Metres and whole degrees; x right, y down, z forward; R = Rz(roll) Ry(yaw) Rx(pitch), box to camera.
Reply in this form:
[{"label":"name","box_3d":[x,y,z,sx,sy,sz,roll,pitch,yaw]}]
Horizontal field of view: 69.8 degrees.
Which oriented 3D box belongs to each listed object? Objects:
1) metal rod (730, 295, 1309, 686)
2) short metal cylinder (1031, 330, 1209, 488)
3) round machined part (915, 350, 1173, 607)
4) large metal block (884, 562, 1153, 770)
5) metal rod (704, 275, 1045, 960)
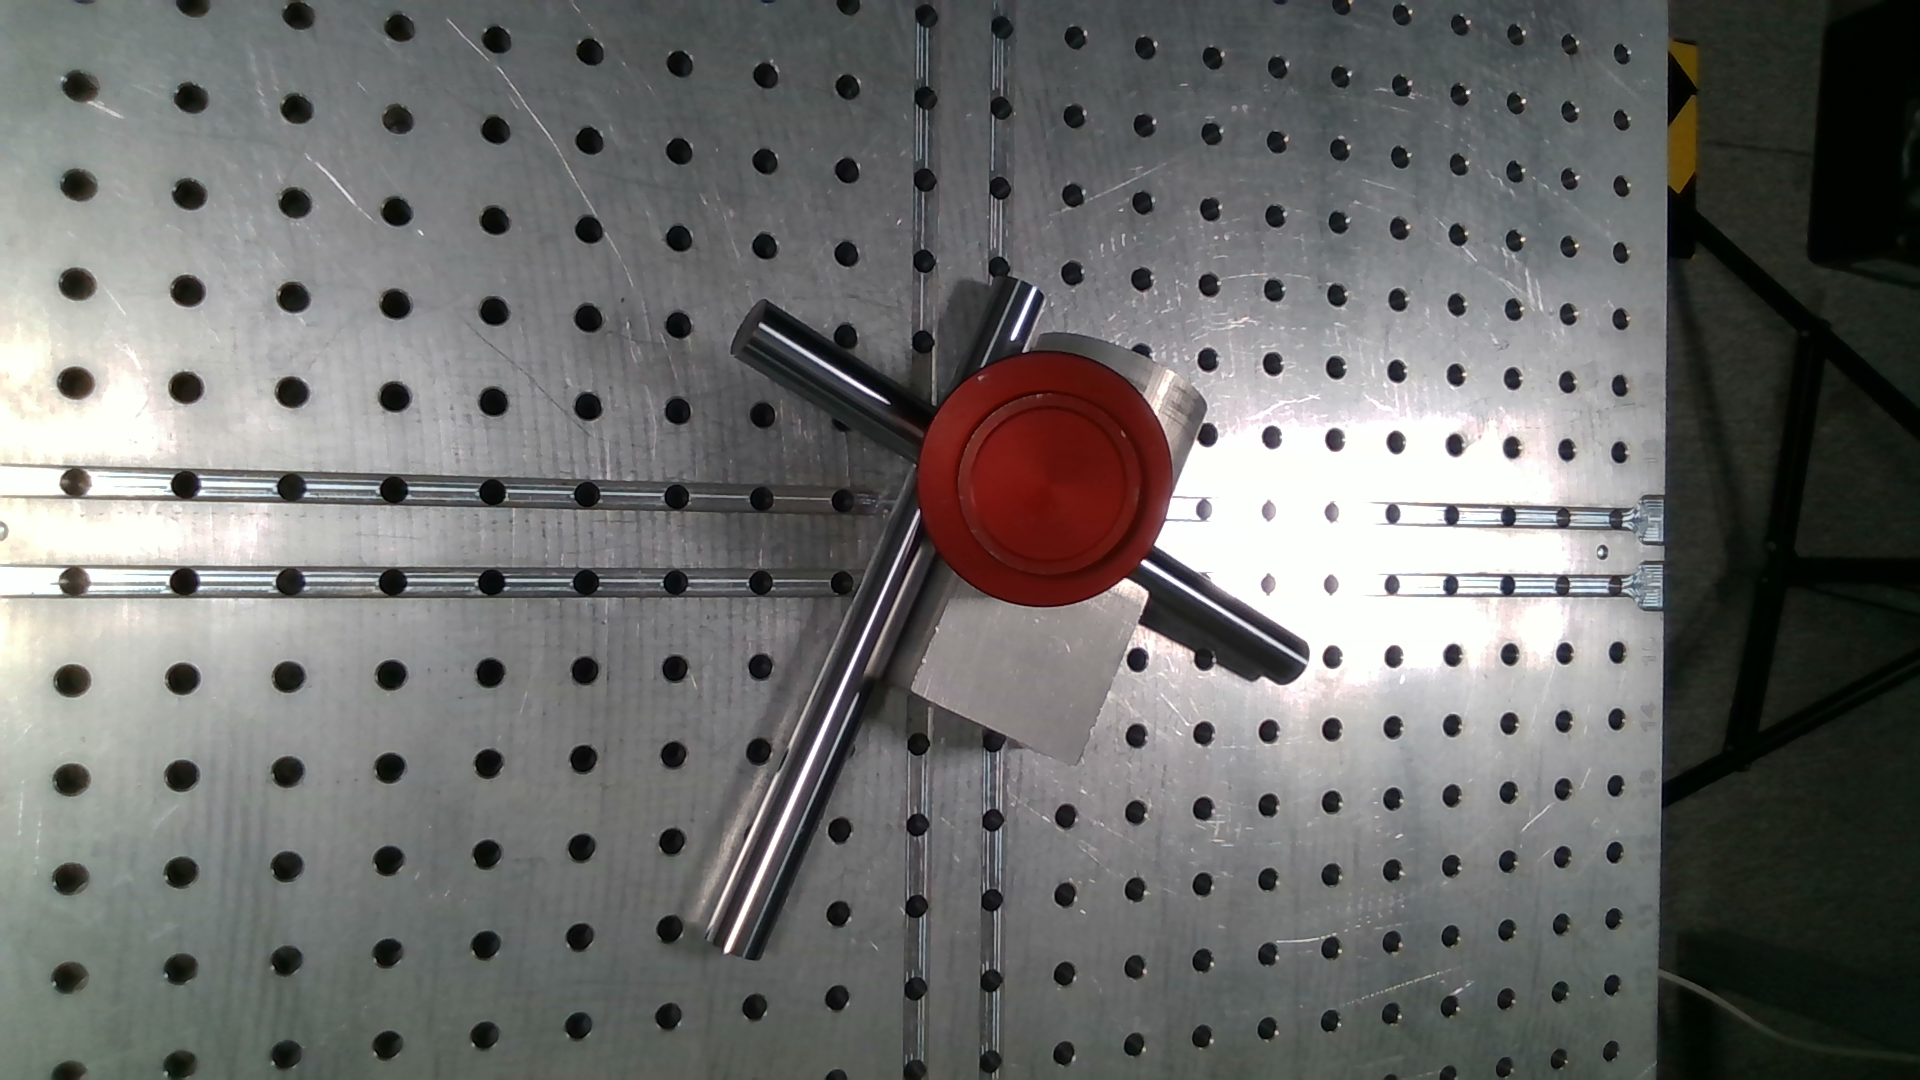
[{"label":"metal rod","box_3d":[0.037,-0.012,0.581,0.301,0.025,0.025,31,80,-25]},{"label":"short metal cylinder","box_3d":[0.058,-0.047,0.580,0.080,0.080,0.050,26,81,-18]},{"label":"round machined part","box_3d":[0.032,-0.023,0.521,0.098,0.042,0.098,0,97,0]},{"label":"large metal block","box_3d":[0.022,0.041,0.580,0.080,0.050,0.080,27,81,-18]},{"label":"metal rod","box_3d":[-0.033,0.028,0.576,0.025,0.025,0.300,26,81,-18]}]
